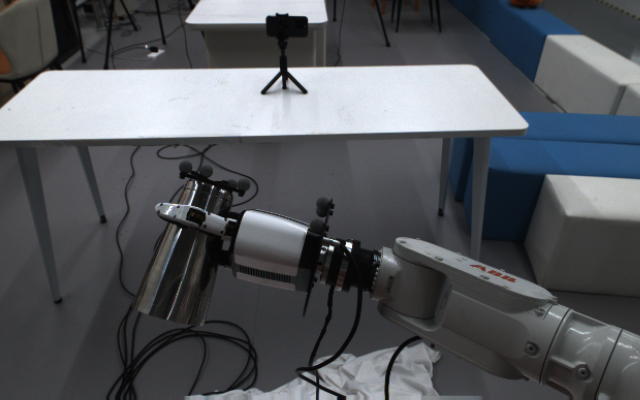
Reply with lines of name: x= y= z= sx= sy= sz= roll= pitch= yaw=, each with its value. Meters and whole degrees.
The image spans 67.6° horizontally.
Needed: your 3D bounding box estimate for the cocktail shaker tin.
cocktail shaker tin: x=-0.166 y=0.064 z=0.626 sx=0.093 sy=0.093 sz=0.170 roll=13 pitch=79 yaw=15
